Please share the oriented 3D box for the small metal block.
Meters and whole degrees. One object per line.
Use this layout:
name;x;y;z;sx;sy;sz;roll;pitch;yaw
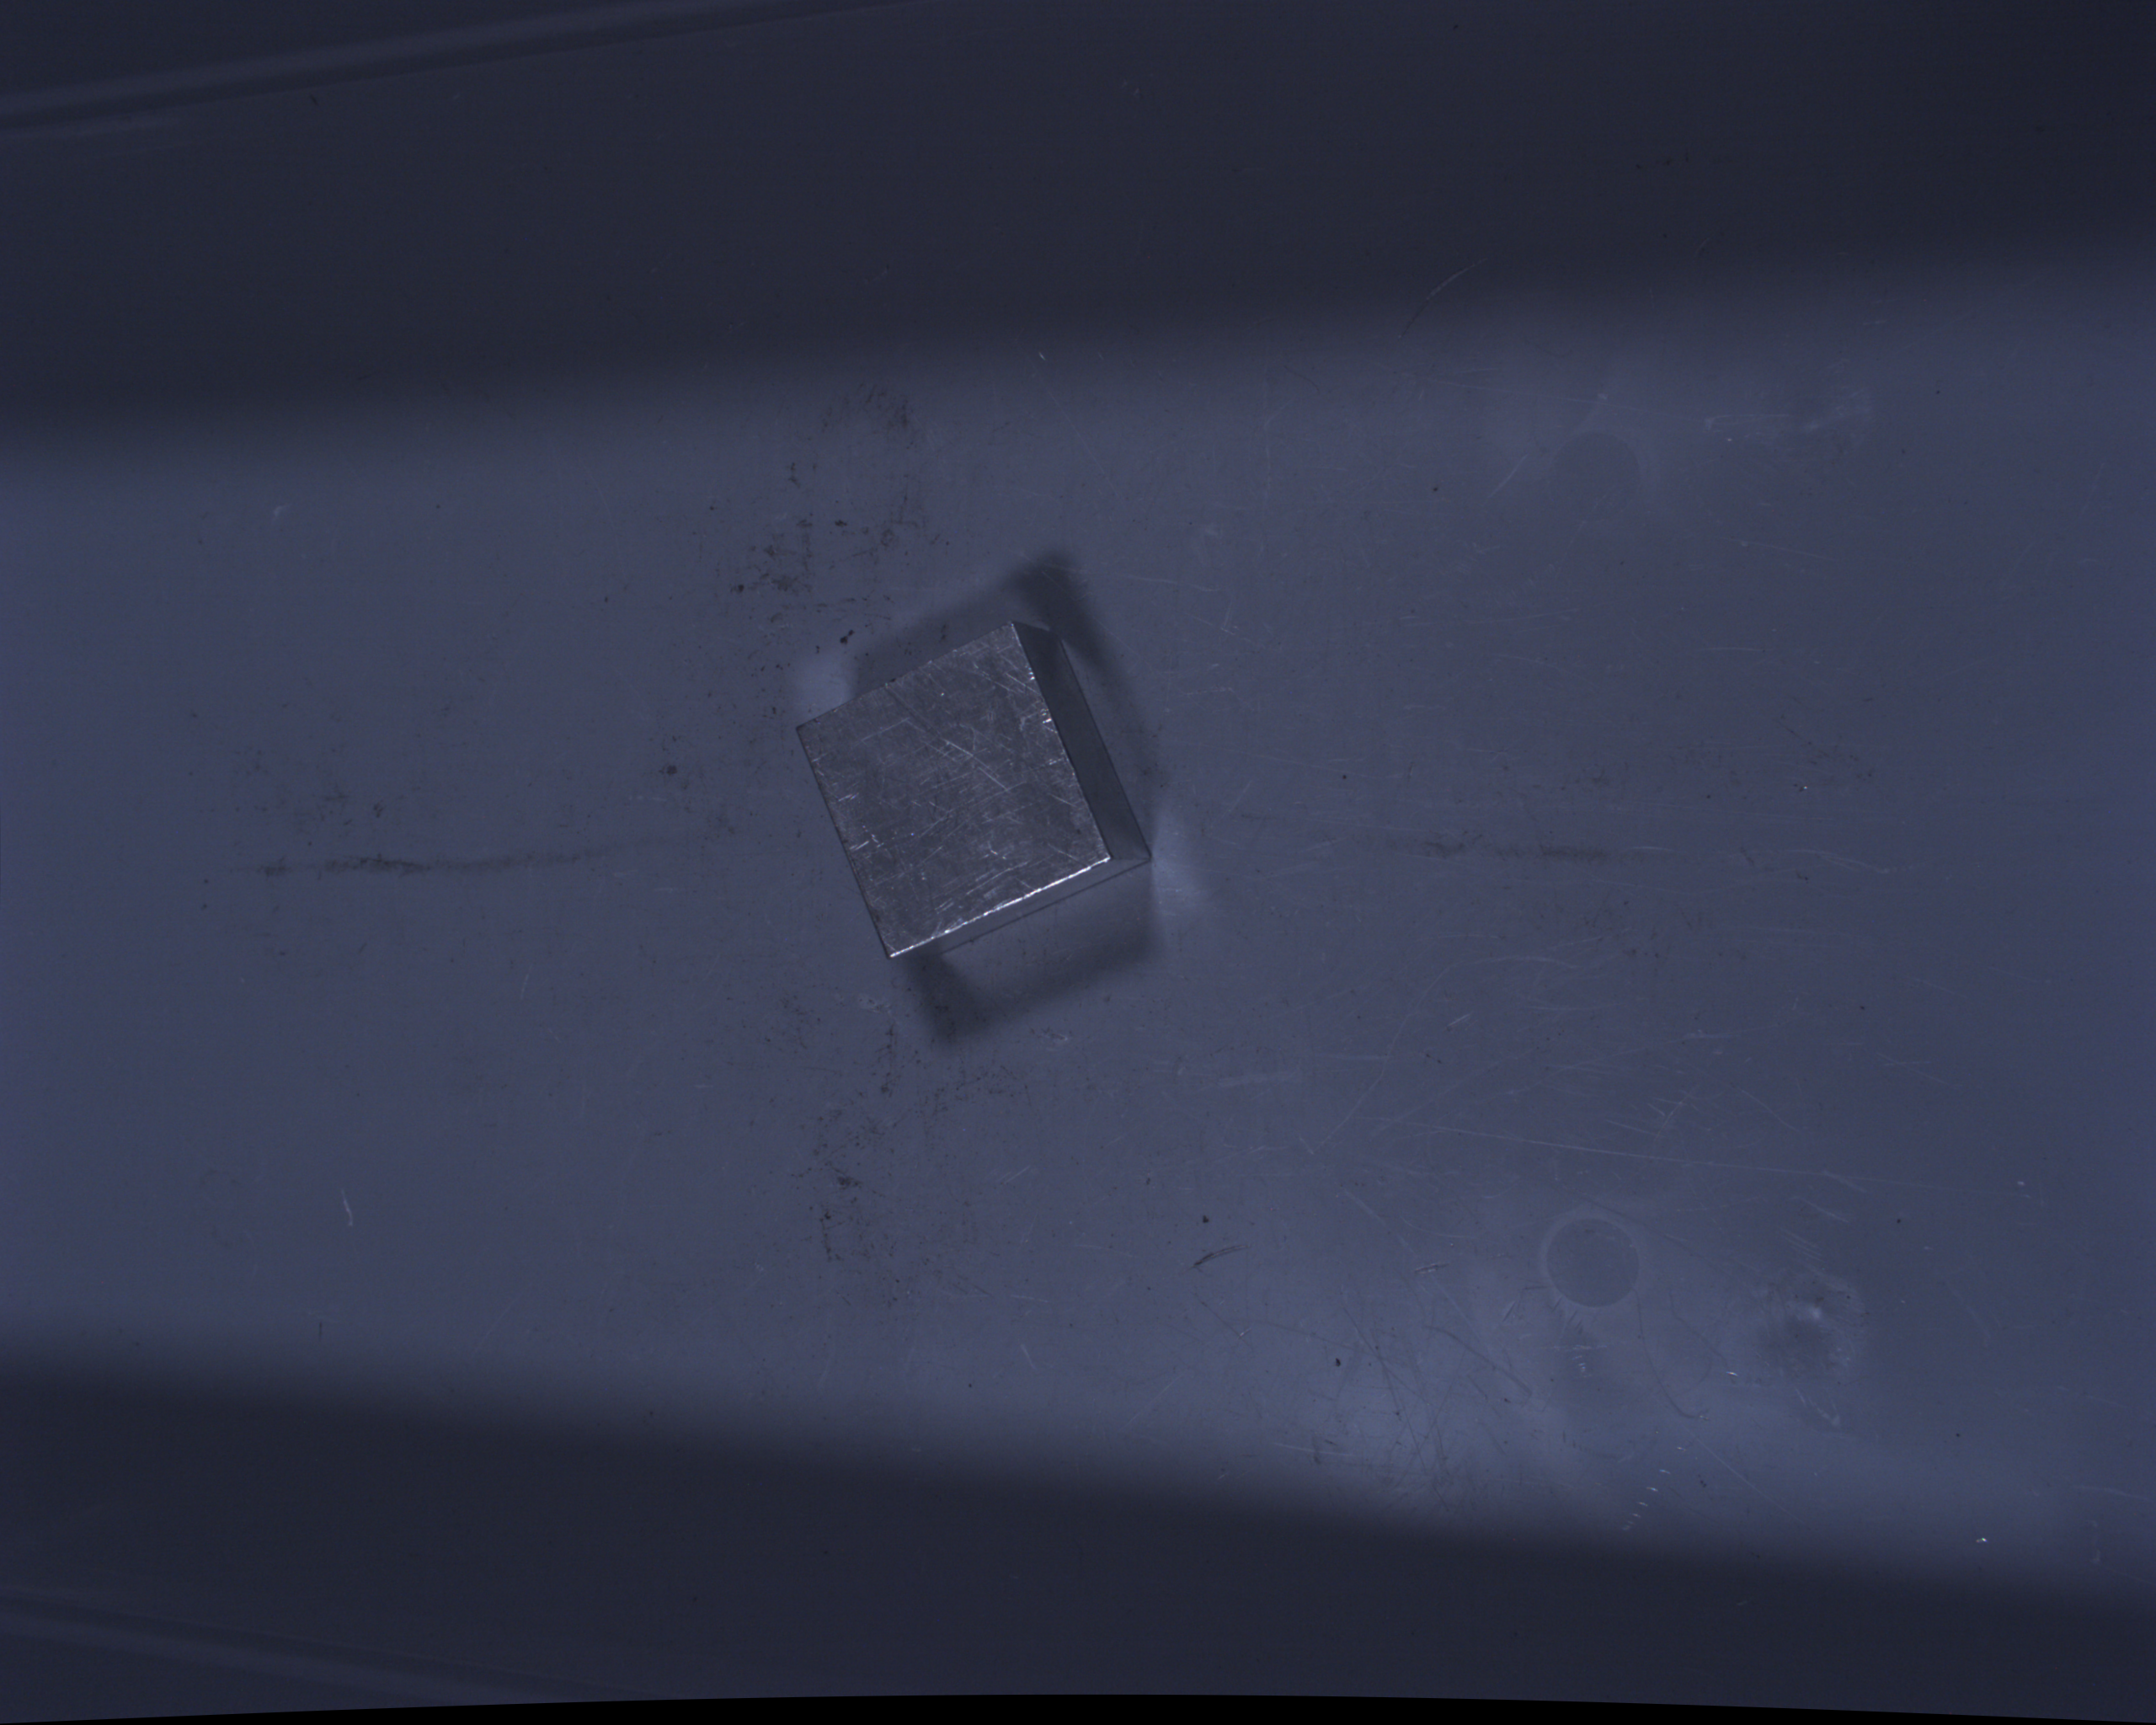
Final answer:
small metal block;-0.021;-0.014;0.413;0.050;0.025;0.050;-24;82;18
